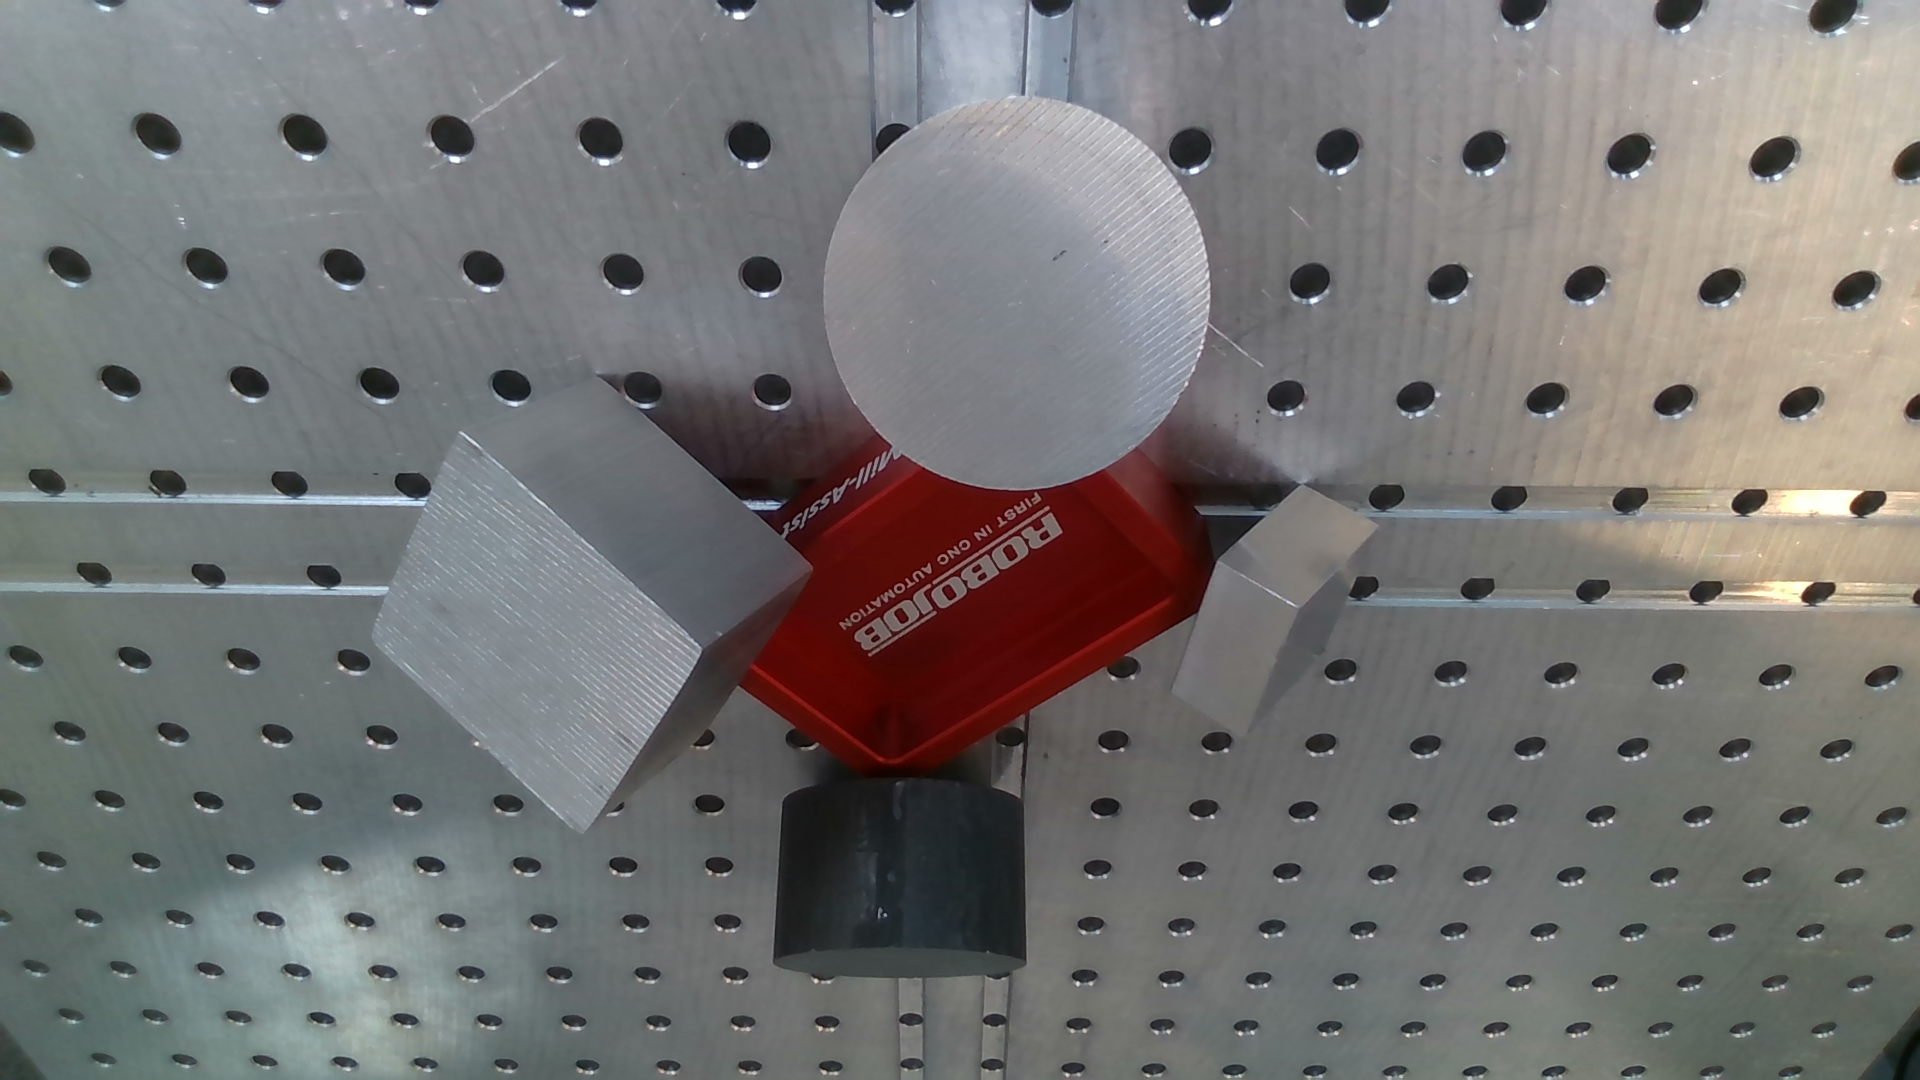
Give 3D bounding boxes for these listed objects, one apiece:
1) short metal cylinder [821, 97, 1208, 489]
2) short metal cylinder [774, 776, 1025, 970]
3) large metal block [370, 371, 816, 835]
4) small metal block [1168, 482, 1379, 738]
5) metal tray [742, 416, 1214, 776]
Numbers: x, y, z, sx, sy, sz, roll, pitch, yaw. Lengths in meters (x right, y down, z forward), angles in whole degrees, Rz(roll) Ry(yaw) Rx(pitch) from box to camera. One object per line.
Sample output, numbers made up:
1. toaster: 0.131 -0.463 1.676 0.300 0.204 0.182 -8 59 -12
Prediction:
1. short metal cylinder: 0.012 -0.056 0.309 0.080 0.050 0.080 0 105 0
2. short metal cylinder: -0.019 0.112 0.450 0.080 0.050 0.080 0 156 0
3. large metal block: -0.099 0.016 0.367 0.080 0.050 0.080 42 124 6
4. small metal block: 0.088 0.019 0.388 0.025 0.050 0.050 32 134 23
5. metal tray: -0.003 0.013 0.398 0.130 0.030 0.090 -34 122 25
